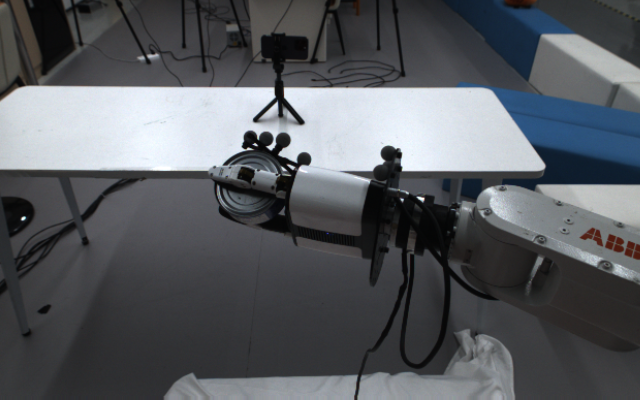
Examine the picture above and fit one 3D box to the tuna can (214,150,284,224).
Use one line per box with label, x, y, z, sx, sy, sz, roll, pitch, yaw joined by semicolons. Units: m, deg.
tuna can;-0.080;-0.016;0.584;0.085;0.034;0.085;-4;67;10
